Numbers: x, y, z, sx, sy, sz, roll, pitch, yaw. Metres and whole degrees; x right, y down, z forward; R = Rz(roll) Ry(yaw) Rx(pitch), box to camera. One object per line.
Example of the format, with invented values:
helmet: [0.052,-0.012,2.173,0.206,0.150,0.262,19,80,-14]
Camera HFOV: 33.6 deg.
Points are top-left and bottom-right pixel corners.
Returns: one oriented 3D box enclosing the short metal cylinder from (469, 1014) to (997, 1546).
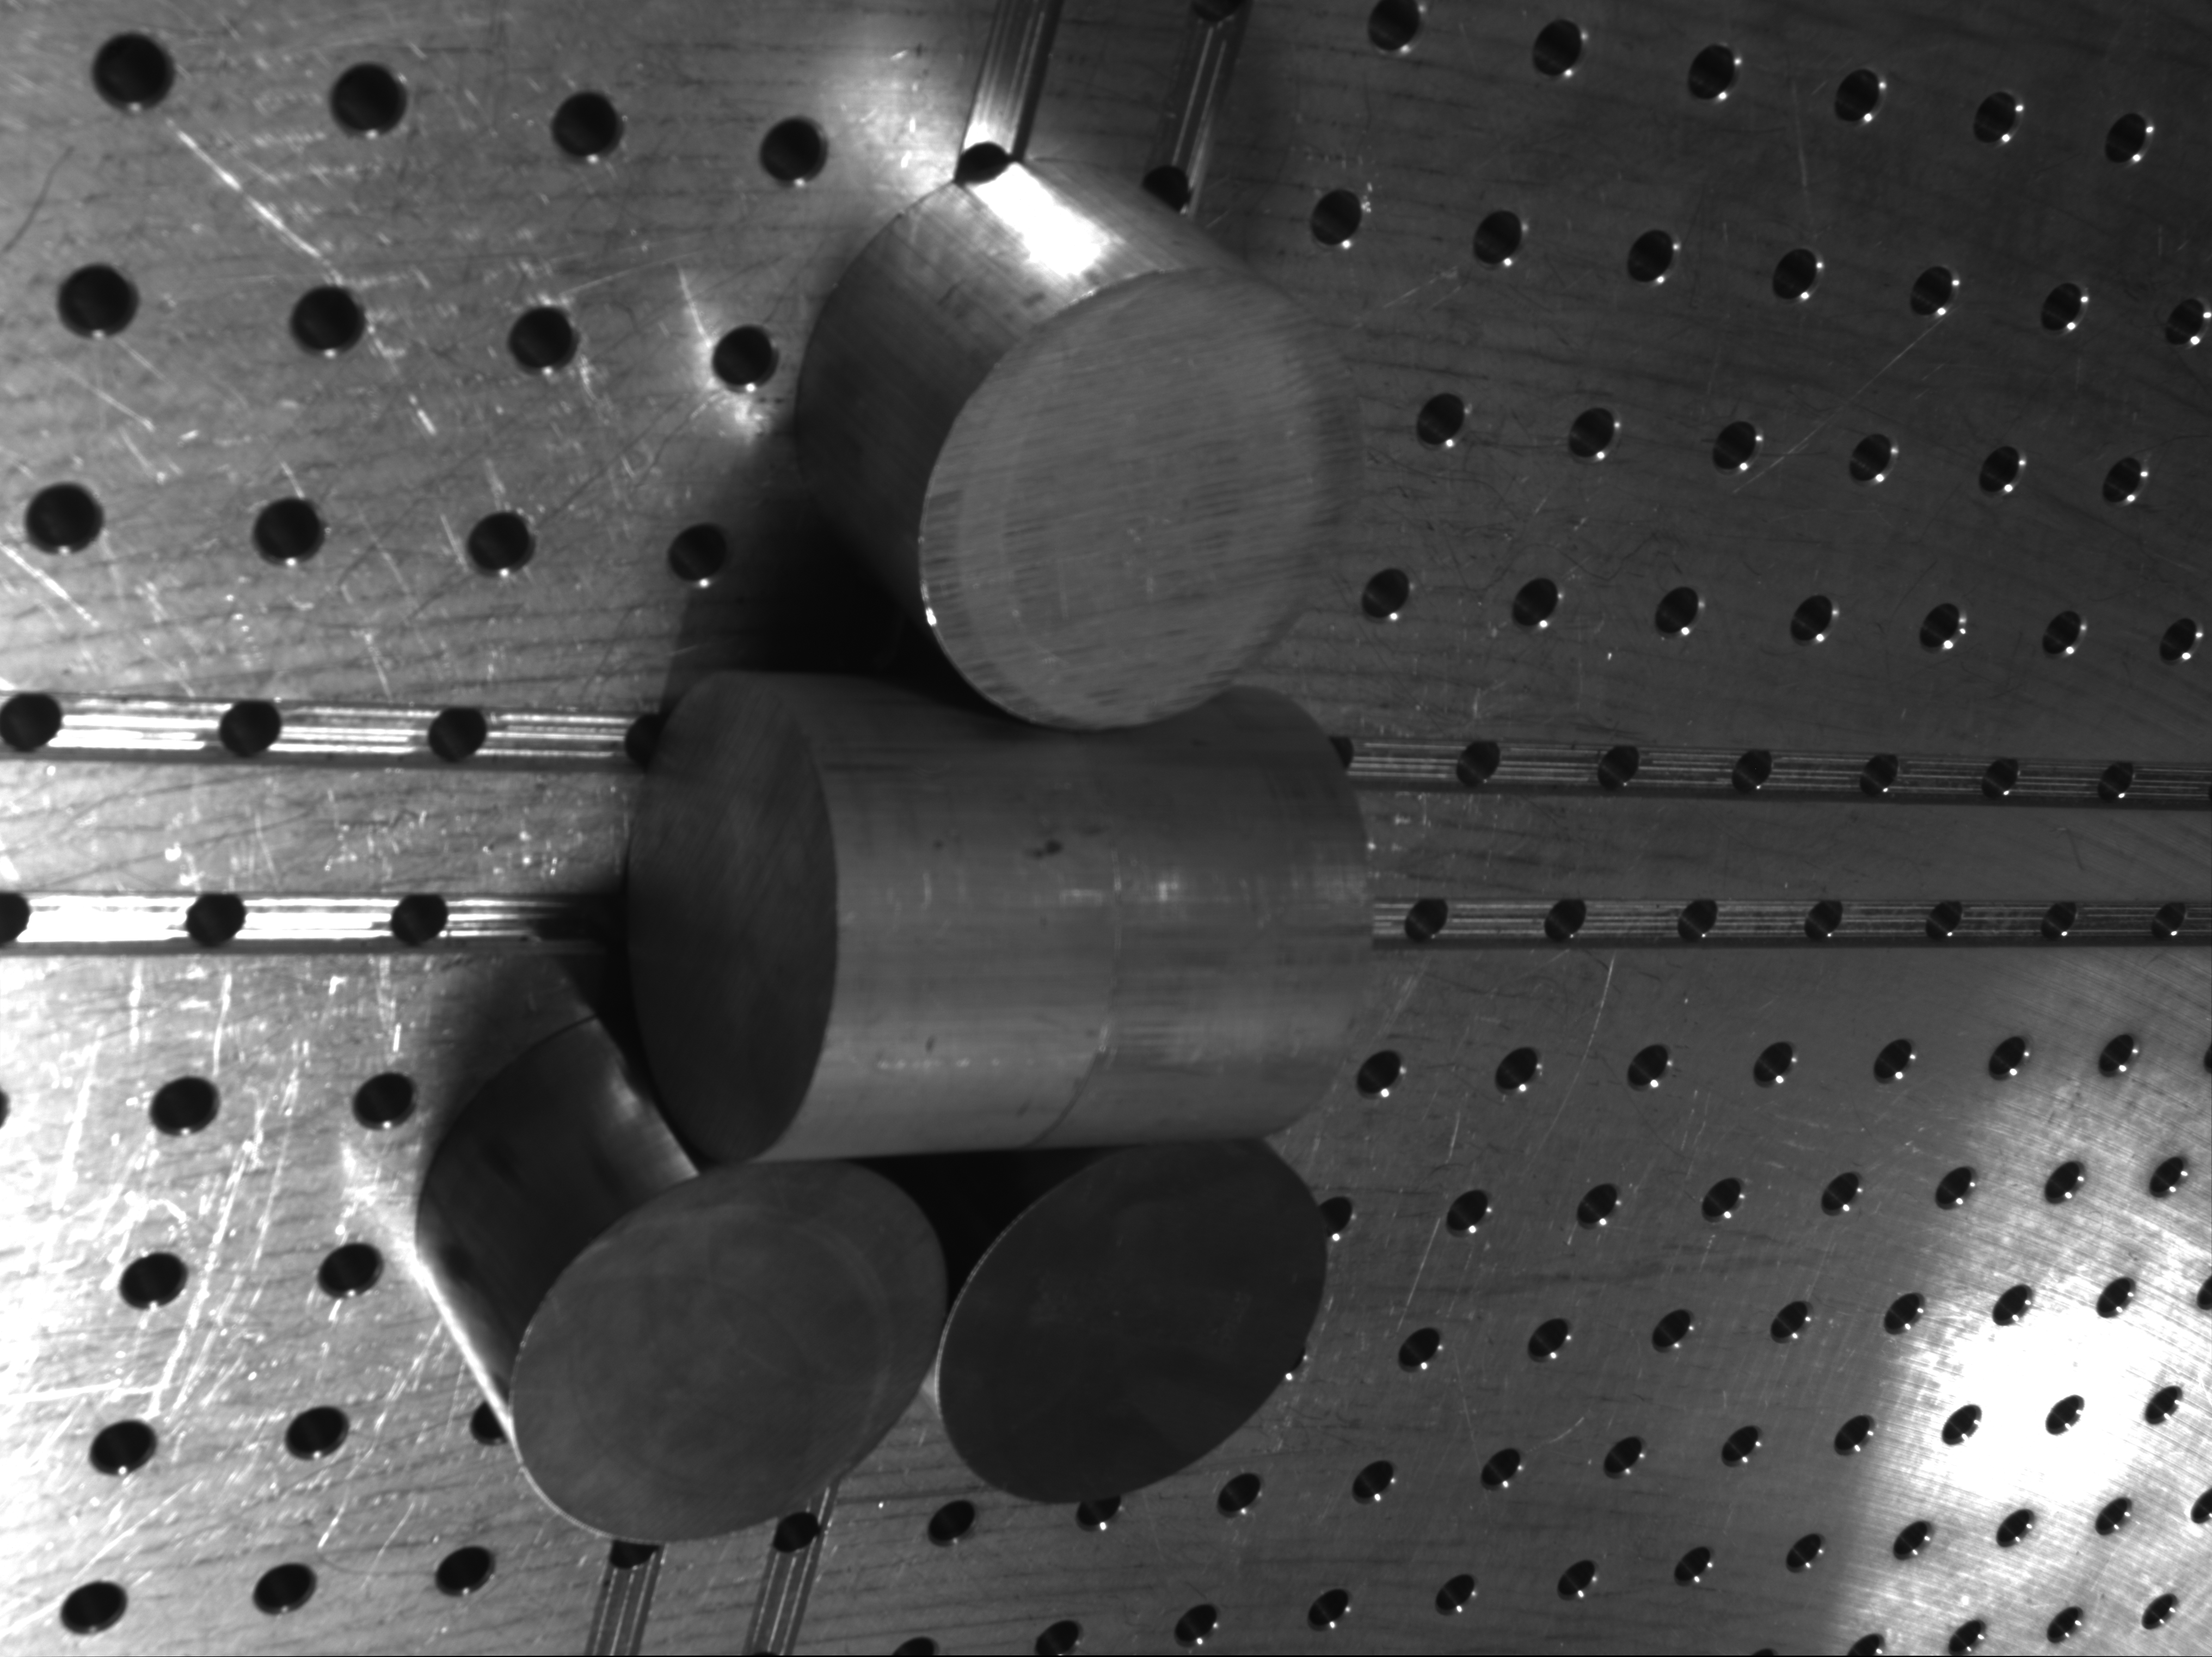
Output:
short metal cylinder: [-0.066,0.079,0.647,0.080,0.050,0.080,-15,125,-22]

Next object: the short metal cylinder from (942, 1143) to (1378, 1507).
short metal cylinder: [0.004,0.080,0.687,0.080,0.050,0.080,-15,125,-22]

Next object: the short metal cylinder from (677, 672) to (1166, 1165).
short metal cylinder: [-0.032,0.015,0.609,0.050,0.080,0.080,0,118,-30]

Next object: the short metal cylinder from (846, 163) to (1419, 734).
short metal cylinder: [0.004,-0.062,0.601,0.080,0.050,0.080,-15,125,-22]

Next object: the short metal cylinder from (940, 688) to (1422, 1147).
short metal cylinder: [0.011,0.015,0.634,0.050,0.080,0.080,0,118,-30]
